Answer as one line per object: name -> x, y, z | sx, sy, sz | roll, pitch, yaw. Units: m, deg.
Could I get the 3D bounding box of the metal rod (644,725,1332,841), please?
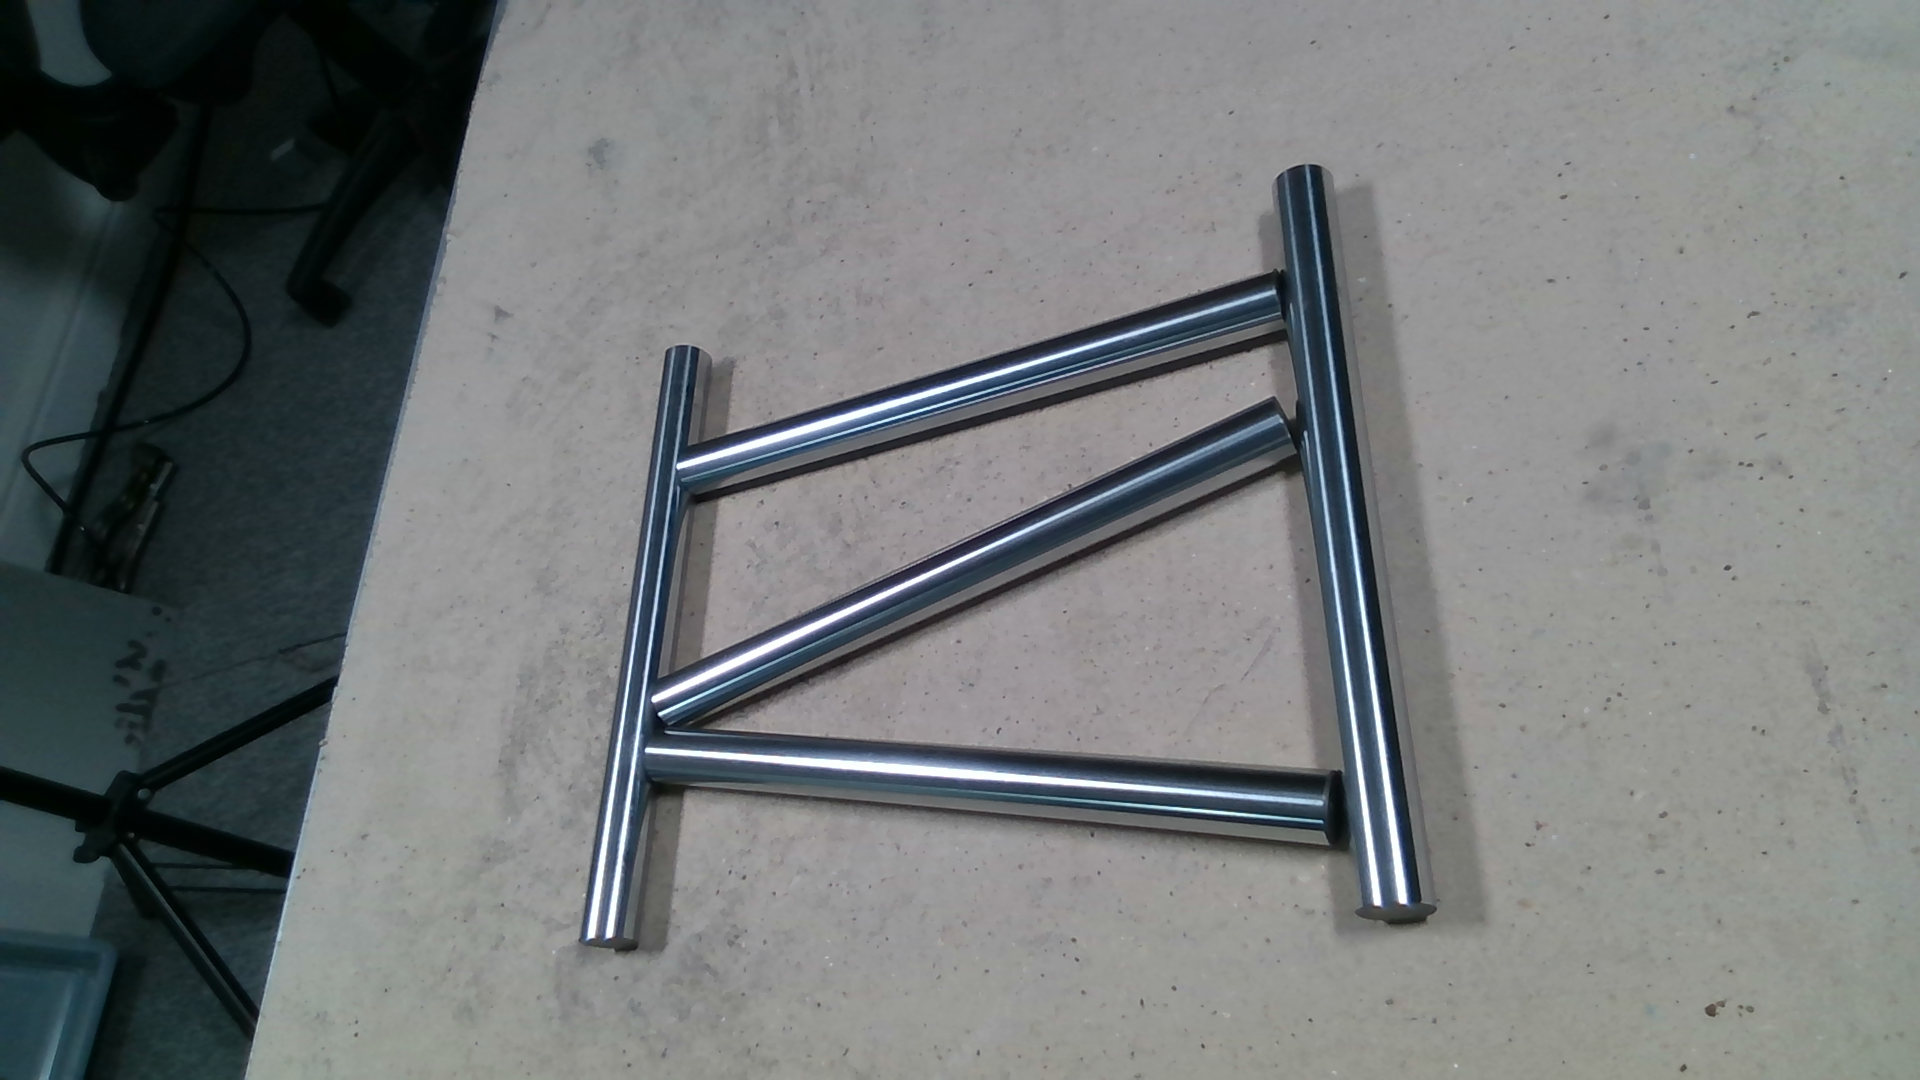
metal rod -> -0.004, 0.092, 0.539 | 0.300, 0.025, 0.025 | -1, 65, 31

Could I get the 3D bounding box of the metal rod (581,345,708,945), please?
metal rod -> -0.146, 0.037, 0.655 | 0.025, 0.025, 0.299 | -13, 59, 25

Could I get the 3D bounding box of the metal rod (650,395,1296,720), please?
metal rod -> -0.004, 0.014, 0.579 | 0.300, 0.025, 0.025 | -25, 55, 19

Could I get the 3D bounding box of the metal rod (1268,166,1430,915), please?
metal rod -> 0.139, -0.015, 0.508 | 0.025, 0.025, 0.299 | -13, 59, 25

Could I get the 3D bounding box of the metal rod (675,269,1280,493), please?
metal rod -> -0.002, -0.066, 0.621 | 0.300, 0.025, 0.025 | -13, 59, 25
